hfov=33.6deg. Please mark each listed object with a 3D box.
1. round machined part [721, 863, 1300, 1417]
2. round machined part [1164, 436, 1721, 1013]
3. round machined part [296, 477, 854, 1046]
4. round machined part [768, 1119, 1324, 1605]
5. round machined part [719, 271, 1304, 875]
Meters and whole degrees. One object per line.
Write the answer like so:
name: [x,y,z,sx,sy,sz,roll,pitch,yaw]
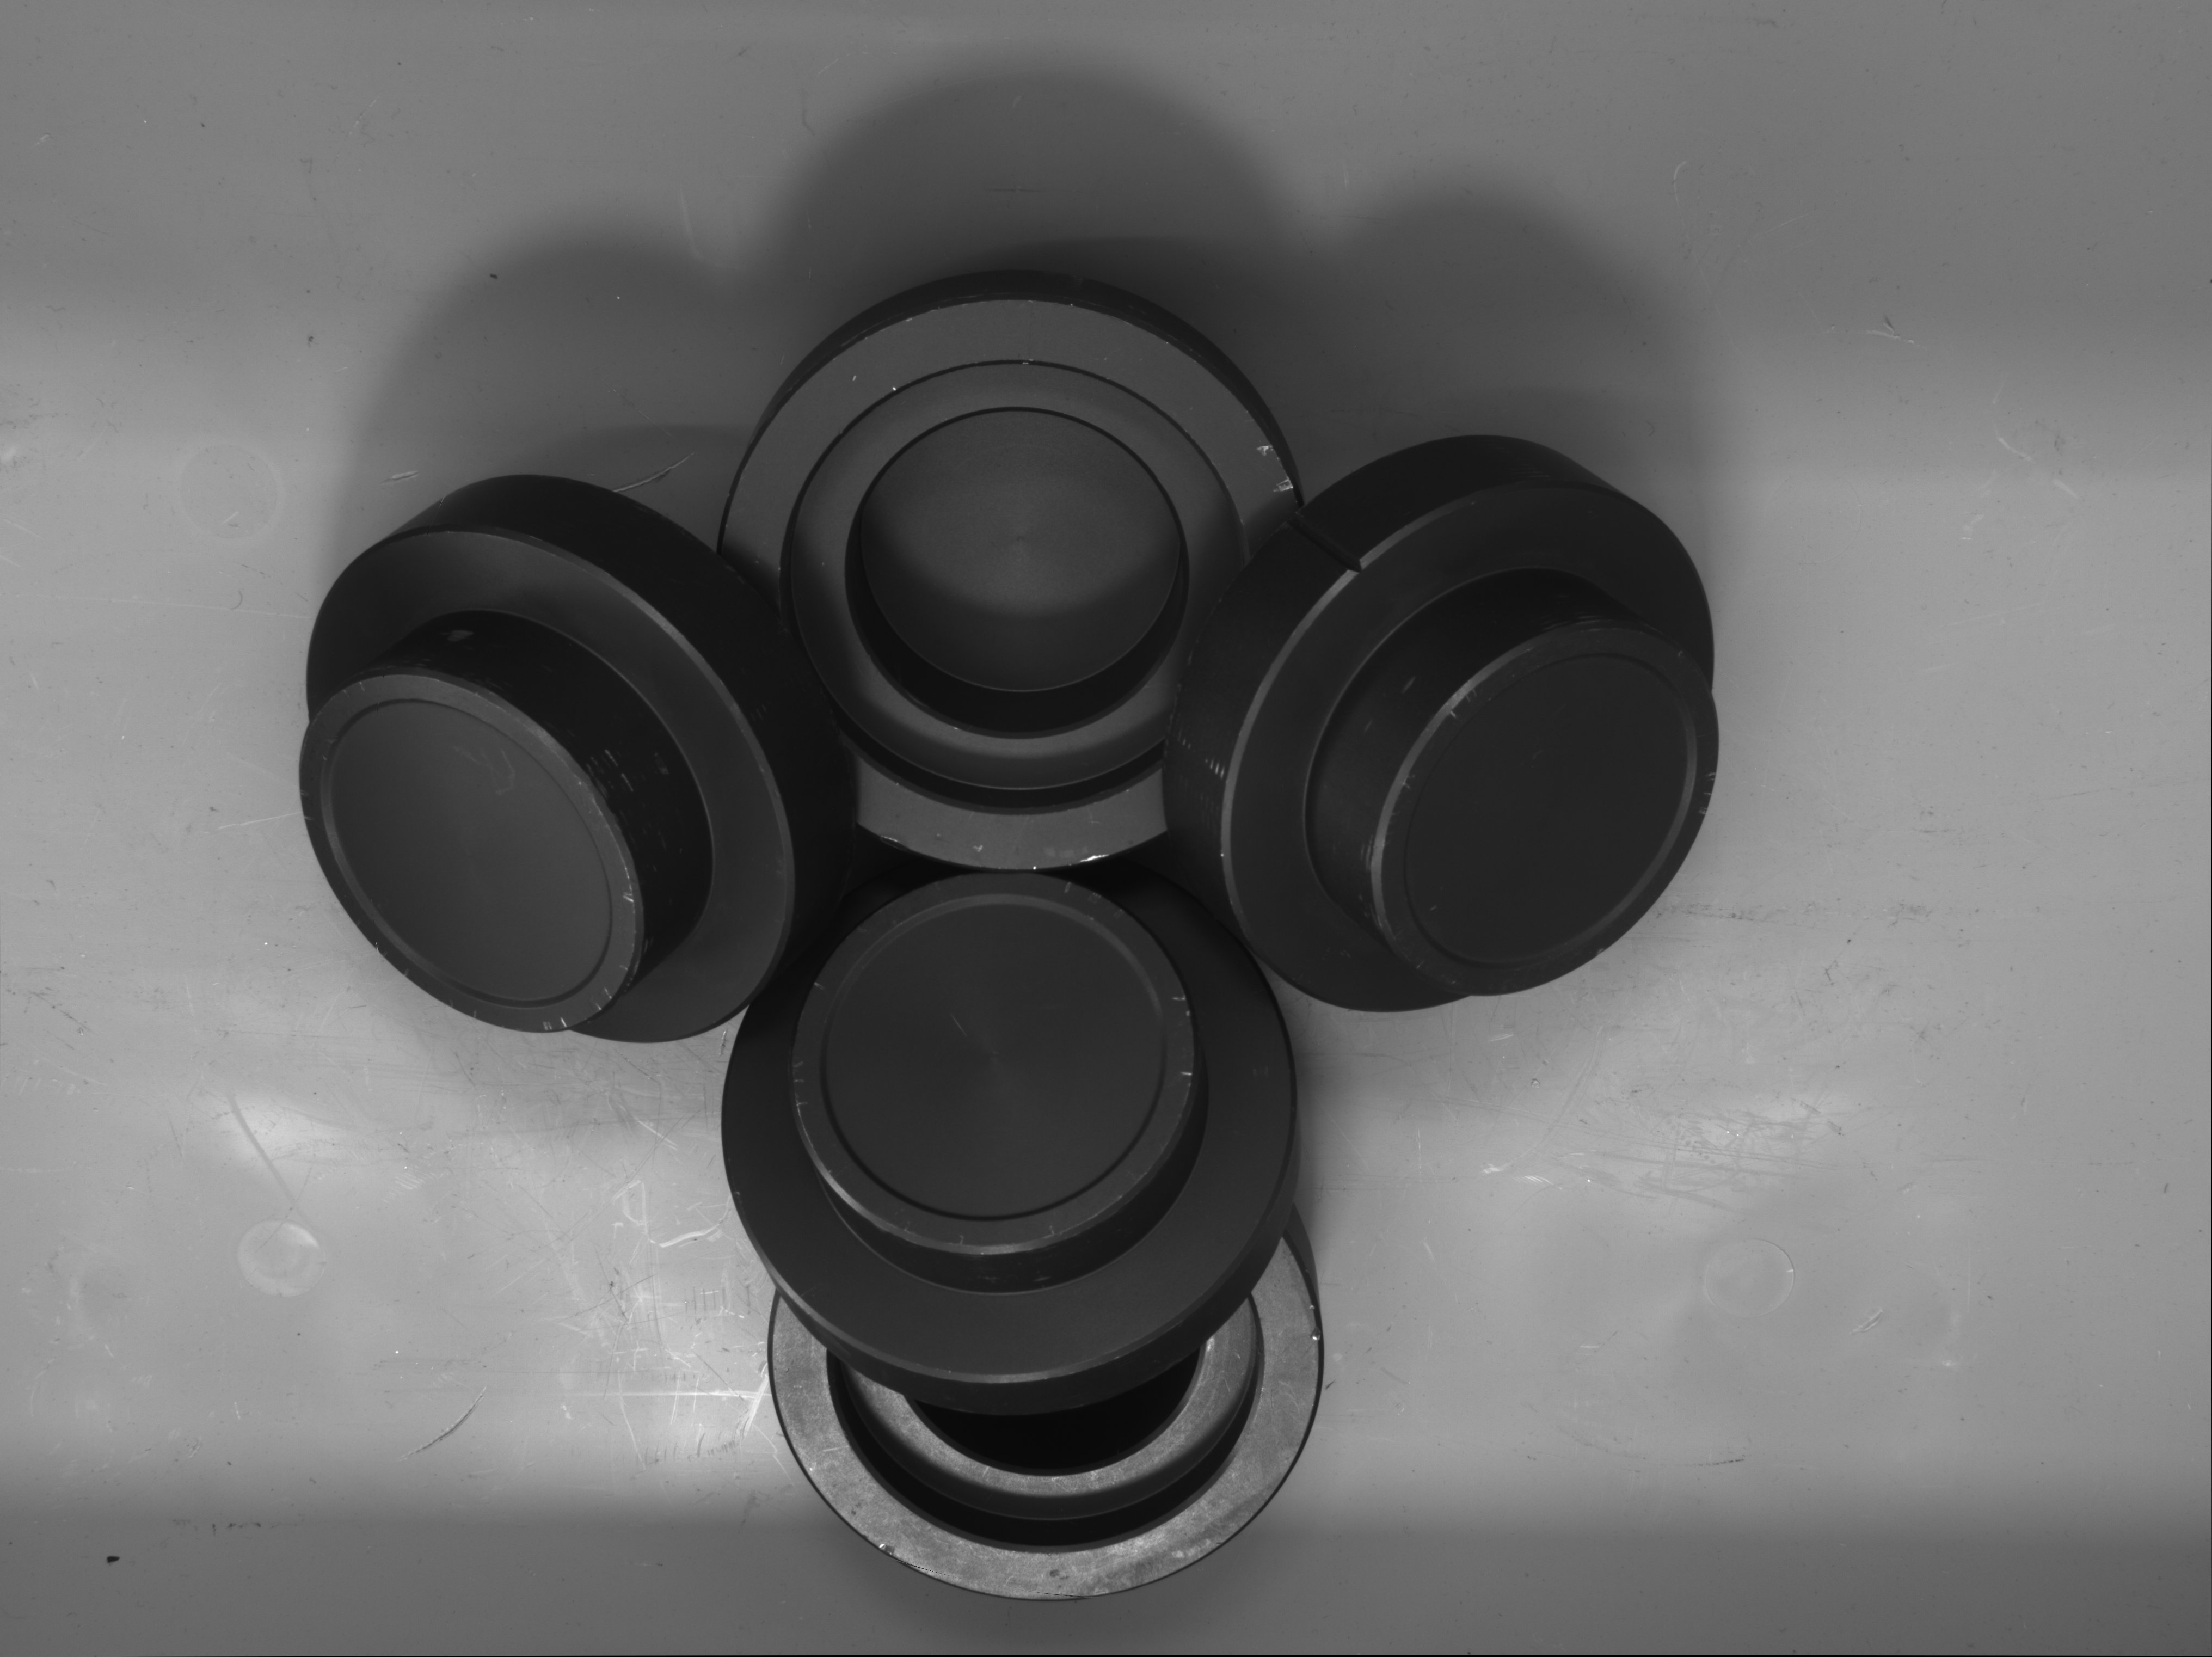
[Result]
round machined part: [-0.017,0.046,0.620,0.098,0.098,0.042,-6,154,2]
round machined part: [0.062,-0.012,0.605,0.098,0.042,0.098,-17,126,-25]
round machined part: [-0.094,-0.005,0.608,0.098,0.042,0.098,15,126,23]
round machined part: [-0.010,0.087,0.664,0.098,0.042,0.098,0,110,0]
round machined part: [-0.014,-0.045,0.616,0.098,0.042,0.098,0,110,0]
